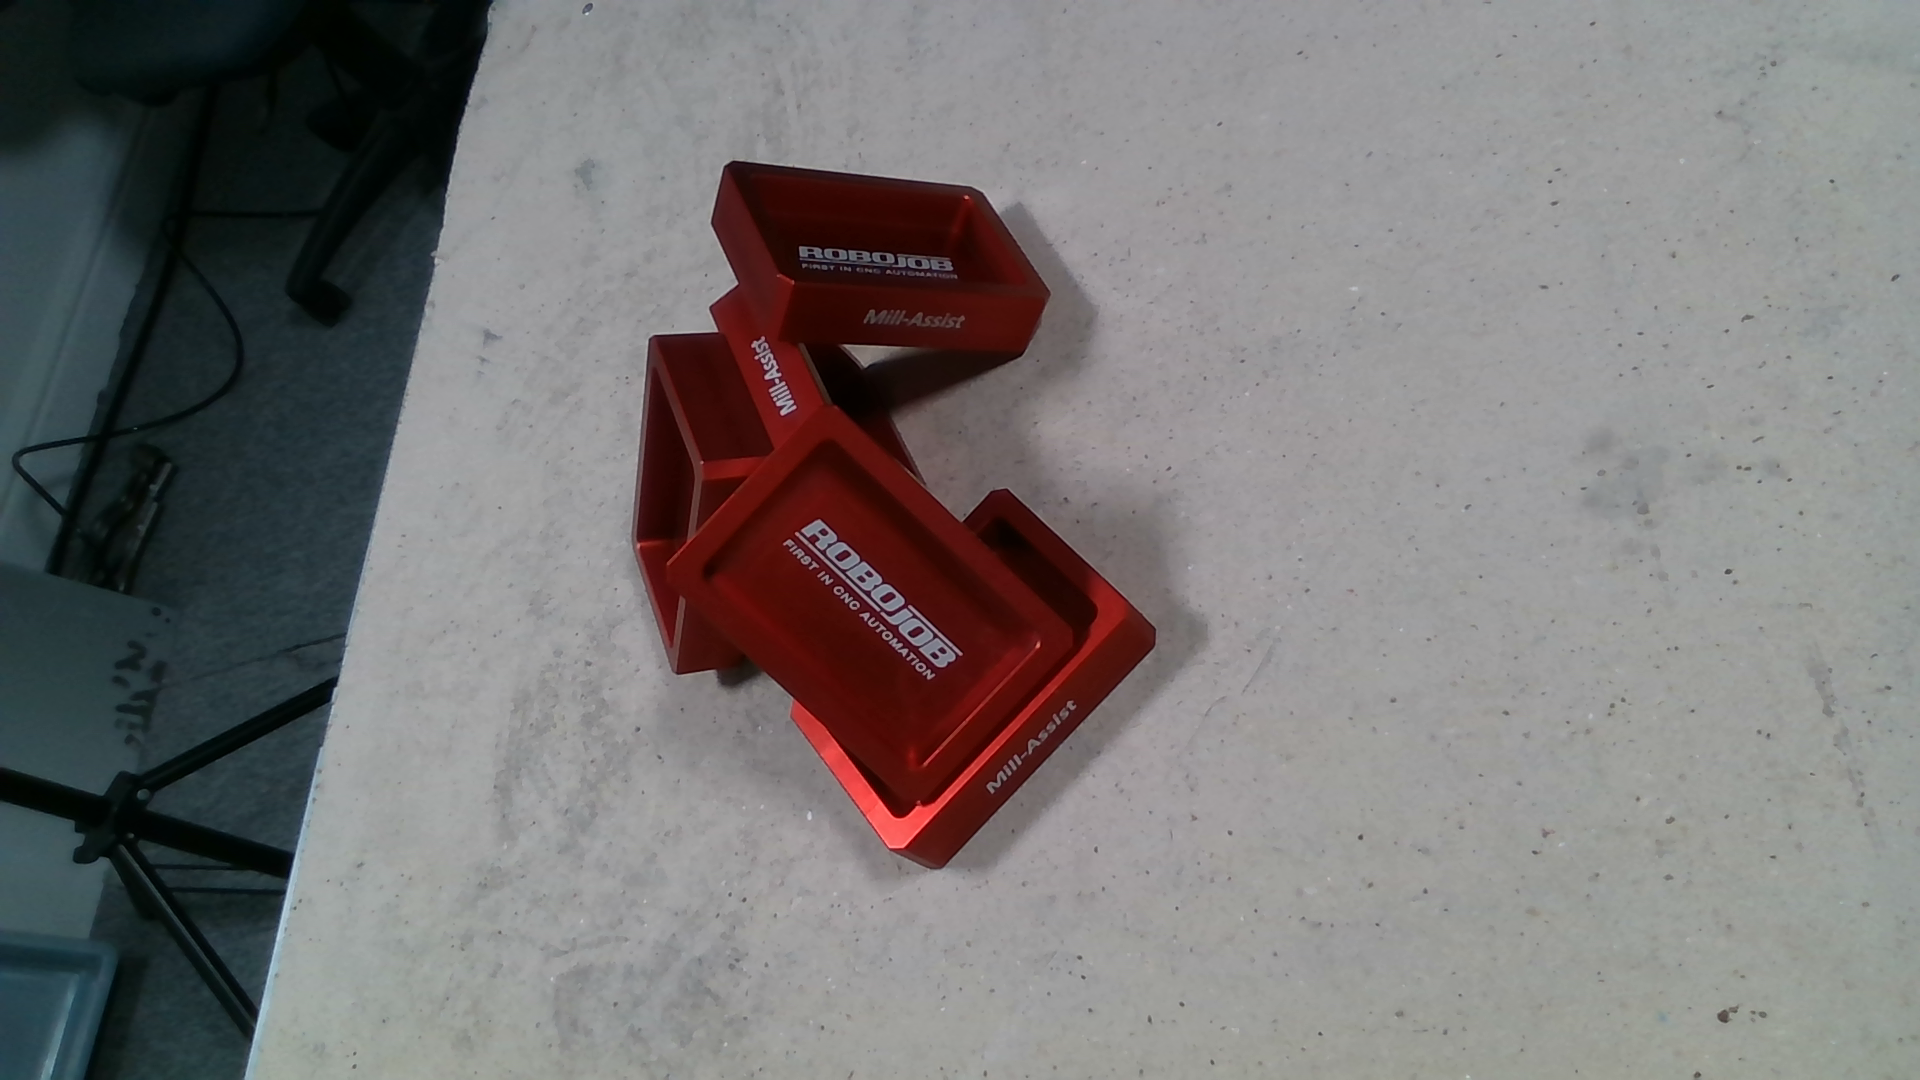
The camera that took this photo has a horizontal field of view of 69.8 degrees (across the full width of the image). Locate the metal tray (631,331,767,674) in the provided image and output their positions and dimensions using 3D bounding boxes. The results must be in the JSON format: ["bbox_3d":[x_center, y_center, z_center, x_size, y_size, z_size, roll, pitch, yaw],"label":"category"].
[{"bbox_3d":[-0.118,-0.015,0.610,0.130,0.030,0.090,108,146,-43],"label":"metal tray"}]

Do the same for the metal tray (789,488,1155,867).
[{"bbox_3d":[0.003,0.054,0.552,0.130,0.030,0.090,-47,51,2],"label":"metal tray"}]

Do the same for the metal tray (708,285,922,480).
[{"bbox_3d":[-0.056,-0.050,0.605,0.030,0.090,0.130,-36,52,10],"label":"metal tray"}]

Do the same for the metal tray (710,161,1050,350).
[{"bbox_3d":[-0.036,-0.126,0.613,0.090,0.130,0.030,63,142,37],"label":"metal tray"}]

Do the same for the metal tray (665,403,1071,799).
[{"bbox_3d":[-0.034,0.022,0.522,0.130,0.030,0.090,43,93,-6],"label":"metal tray"}]
